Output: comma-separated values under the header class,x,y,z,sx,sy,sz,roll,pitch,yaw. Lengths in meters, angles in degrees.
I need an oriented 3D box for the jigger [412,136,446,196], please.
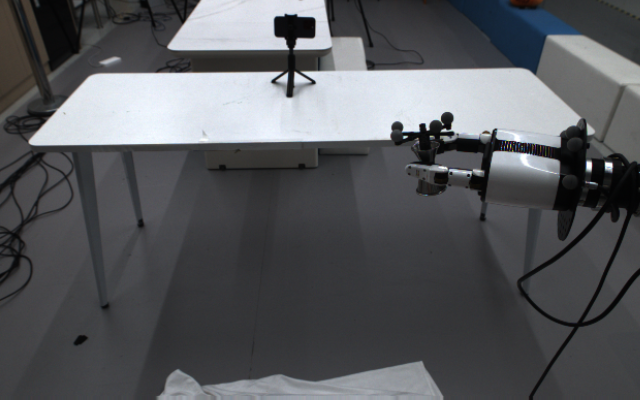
class,x,y,z,sx,sy,sz,roll,pitch,yaw
jigger,0.154,-0.046,0.690,0.043,0.071,0.043,-12,24,5
